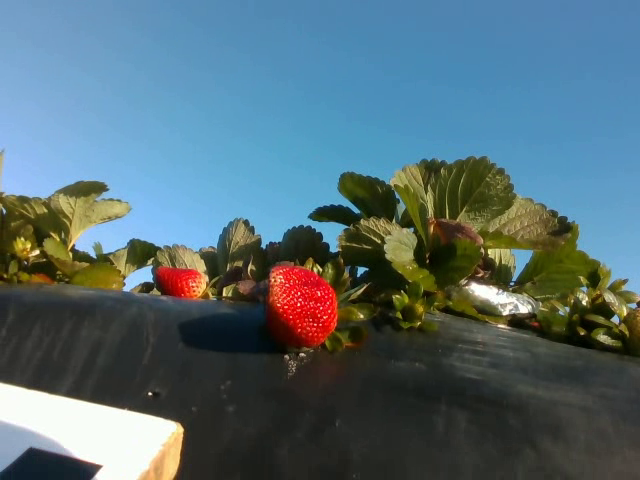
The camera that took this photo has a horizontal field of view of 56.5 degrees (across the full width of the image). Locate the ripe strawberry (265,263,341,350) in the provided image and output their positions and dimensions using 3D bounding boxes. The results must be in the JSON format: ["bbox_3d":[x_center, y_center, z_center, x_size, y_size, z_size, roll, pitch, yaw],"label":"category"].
[{"bbox_3d":[-0.014,0.032,0.280,0.042,0.042,0.058,18,-4,26],"label":"ripe strawberry"}]

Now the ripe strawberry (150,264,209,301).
[{"bbox_3d":[-0.101,0.030,0.421,0.046,0.036,0.034,20,5,3],"label":"ripe strawberry"}]
